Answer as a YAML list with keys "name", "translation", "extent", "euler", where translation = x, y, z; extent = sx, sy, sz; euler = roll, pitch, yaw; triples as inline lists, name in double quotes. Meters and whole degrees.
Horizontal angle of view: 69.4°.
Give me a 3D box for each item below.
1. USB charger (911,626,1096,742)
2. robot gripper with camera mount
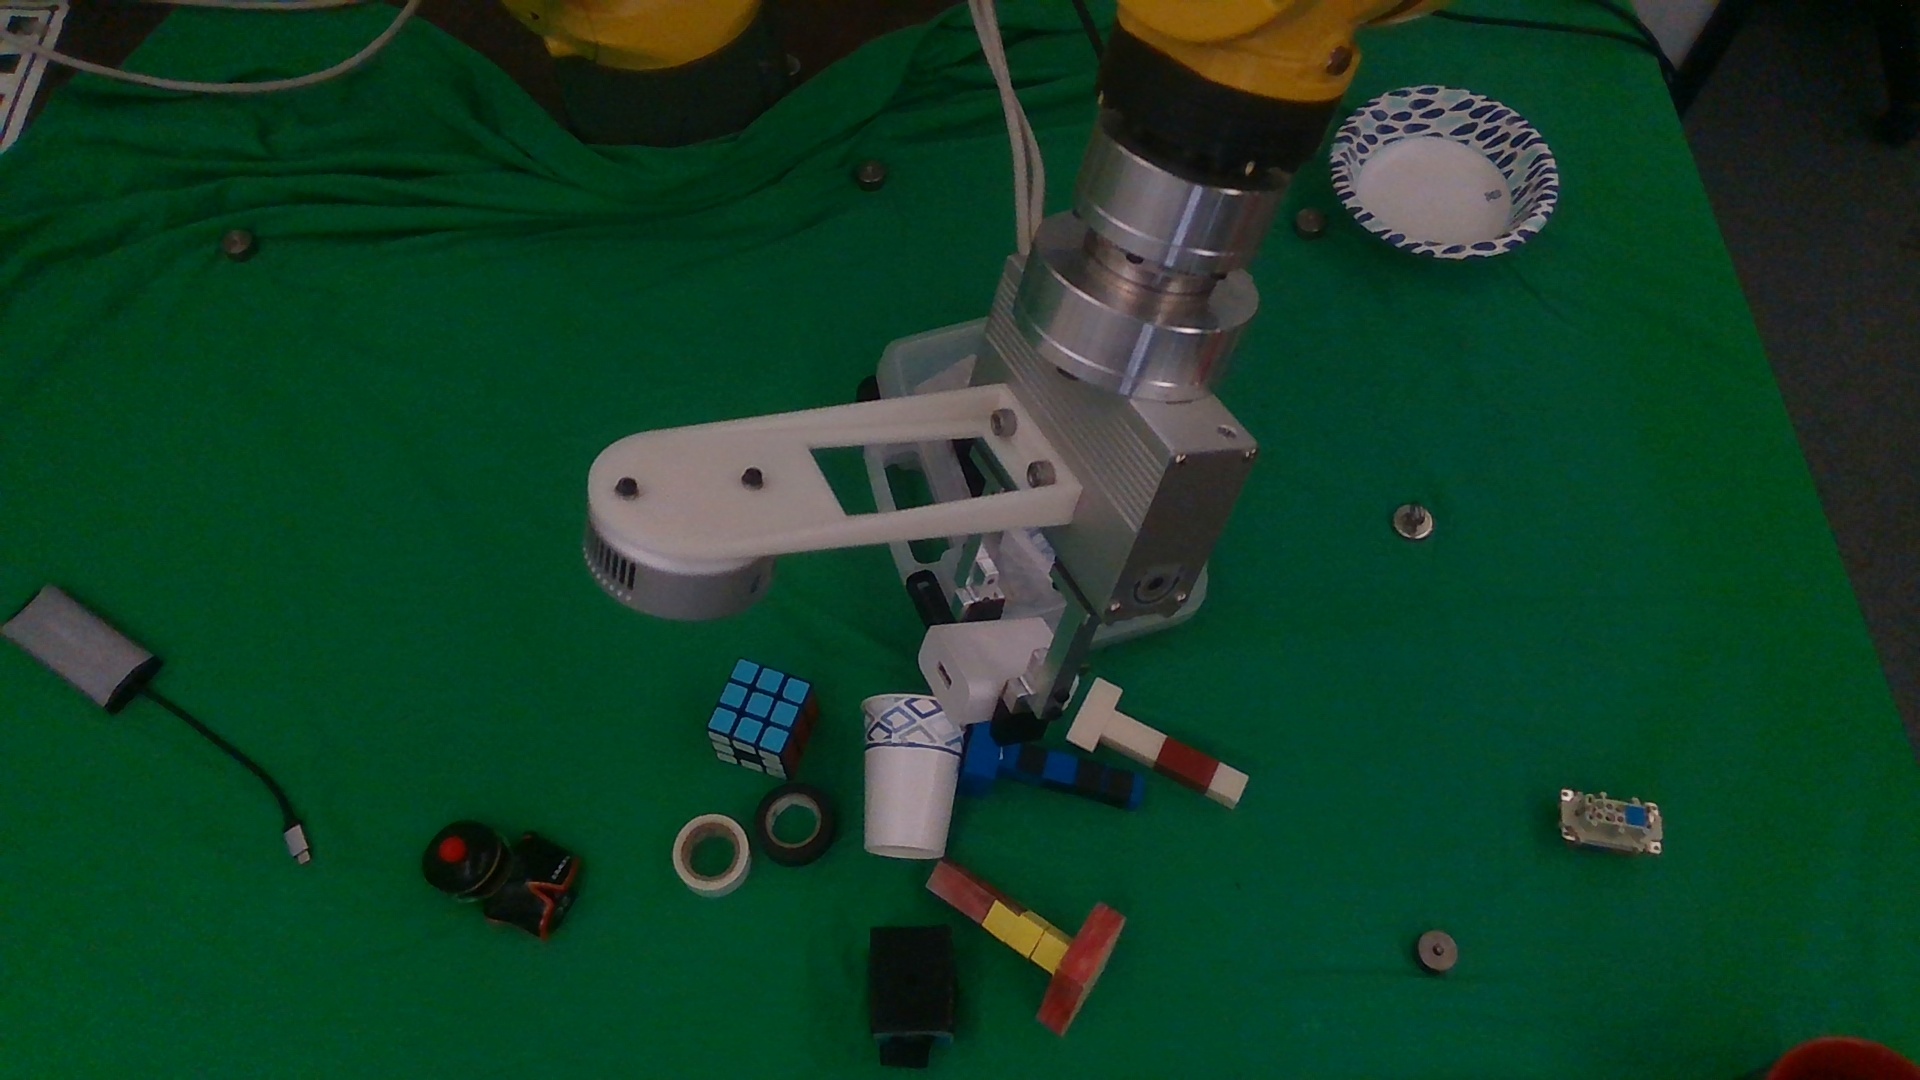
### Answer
- name: "USB charger"
  translation: [0.019, 0.057, 0.570]
  extent: [0.075, 0.029, 0.045]
  euler: [-2, 48, -22]
- name: "robot gripper with camera mount"
  translation: [-0.033, 0.009, 0.483]
  extent: [0.193, 0.159, 0.119]
  euler: [-3, 41, -31]
